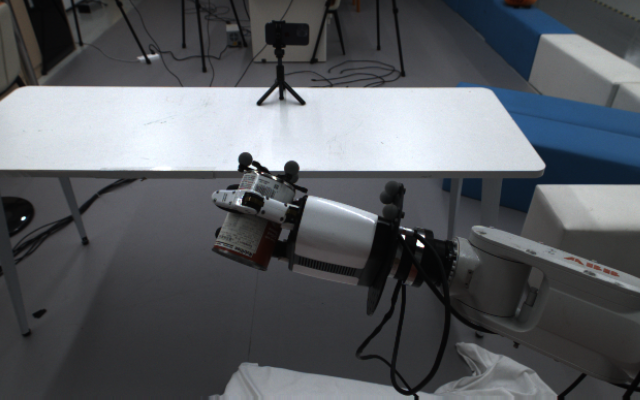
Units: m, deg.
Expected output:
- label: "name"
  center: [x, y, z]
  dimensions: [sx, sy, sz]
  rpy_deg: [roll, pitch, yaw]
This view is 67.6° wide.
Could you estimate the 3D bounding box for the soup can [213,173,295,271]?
- label: "soup can"
  center: [-0.075, 0.025, 0.570]
  dimensions: [0.067, 0.067, 0.101]
  rpy_deg: [16, 75, 19]
